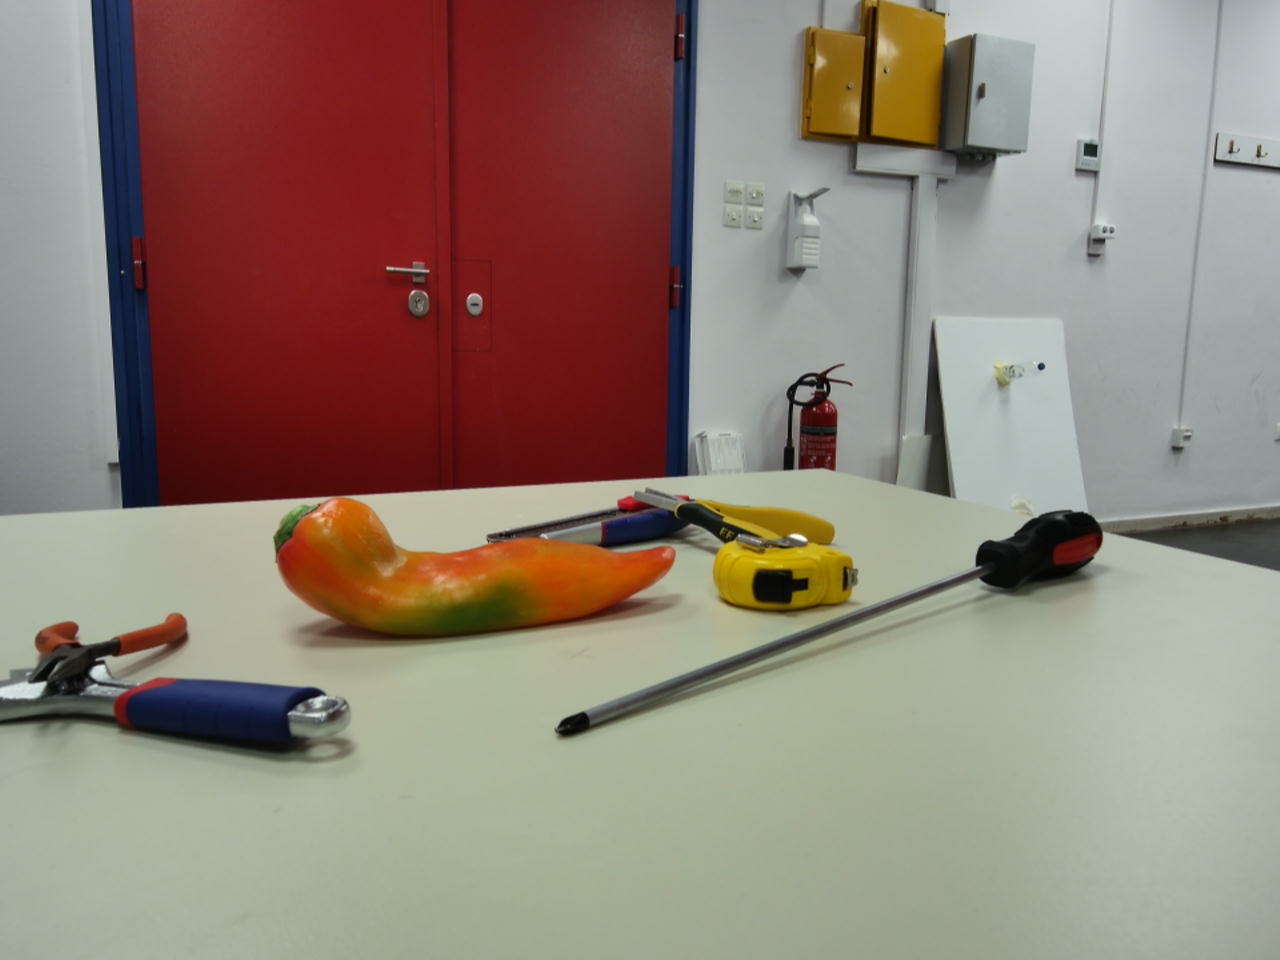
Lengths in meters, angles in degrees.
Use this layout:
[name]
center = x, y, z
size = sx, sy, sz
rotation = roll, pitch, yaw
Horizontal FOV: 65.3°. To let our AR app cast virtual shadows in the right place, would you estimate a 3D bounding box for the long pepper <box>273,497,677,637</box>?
[long pepper]
center = -0.072, 0.037, 0.488
size = 0.199, 0.065, 0.066
rotation = -2, 7, -20
